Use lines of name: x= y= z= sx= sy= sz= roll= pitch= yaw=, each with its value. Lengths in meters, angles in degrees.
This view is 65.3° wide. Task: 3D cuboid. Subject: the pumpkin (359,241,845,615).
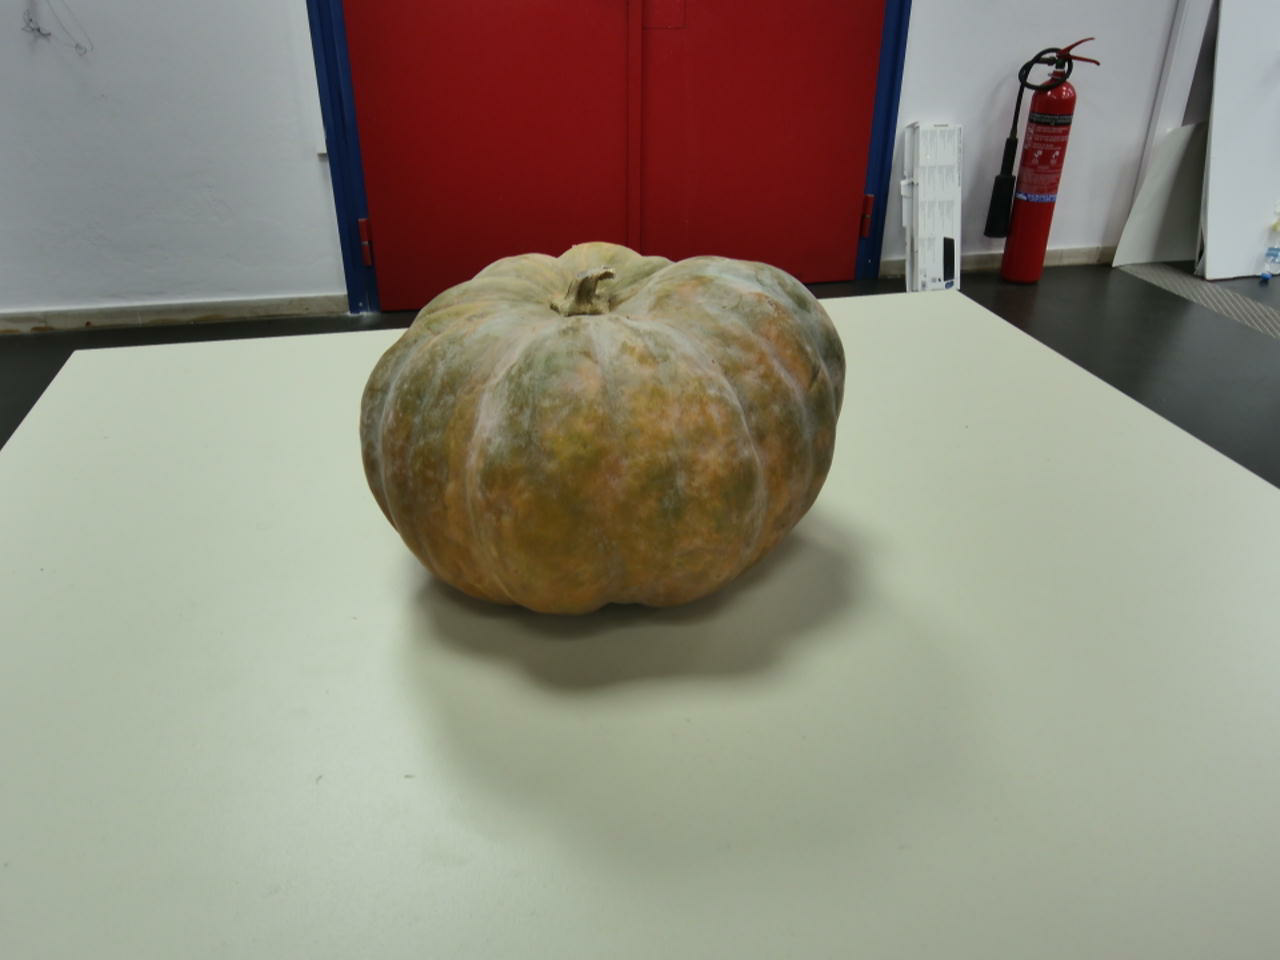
pumpkin: x=-0.023 y=-0.033 z=0.530 sx=0.252 sy=0.169 sz=0.251 roll=0 pitch=27 yaw=0
